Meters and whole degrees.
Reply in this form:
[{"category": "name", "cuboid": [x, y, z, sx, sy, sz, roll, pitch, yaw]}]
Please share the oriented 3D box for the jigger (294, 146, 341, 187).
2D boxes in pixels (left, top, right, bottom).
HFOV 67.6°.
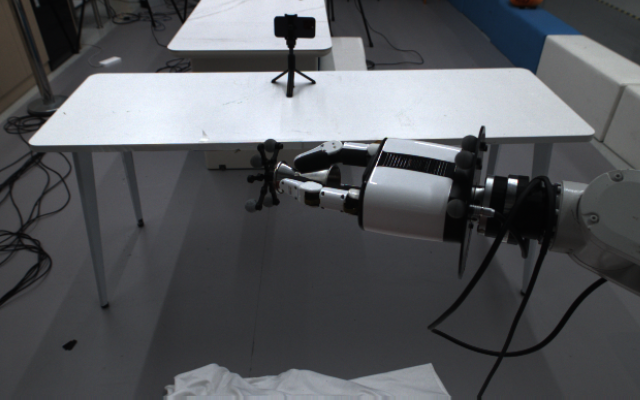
[{"category": "jigger", "cuboid": [-0.010, -0.026, 0.562, 0.071, 0.043, 0.043, 8, 34, 23]}]
